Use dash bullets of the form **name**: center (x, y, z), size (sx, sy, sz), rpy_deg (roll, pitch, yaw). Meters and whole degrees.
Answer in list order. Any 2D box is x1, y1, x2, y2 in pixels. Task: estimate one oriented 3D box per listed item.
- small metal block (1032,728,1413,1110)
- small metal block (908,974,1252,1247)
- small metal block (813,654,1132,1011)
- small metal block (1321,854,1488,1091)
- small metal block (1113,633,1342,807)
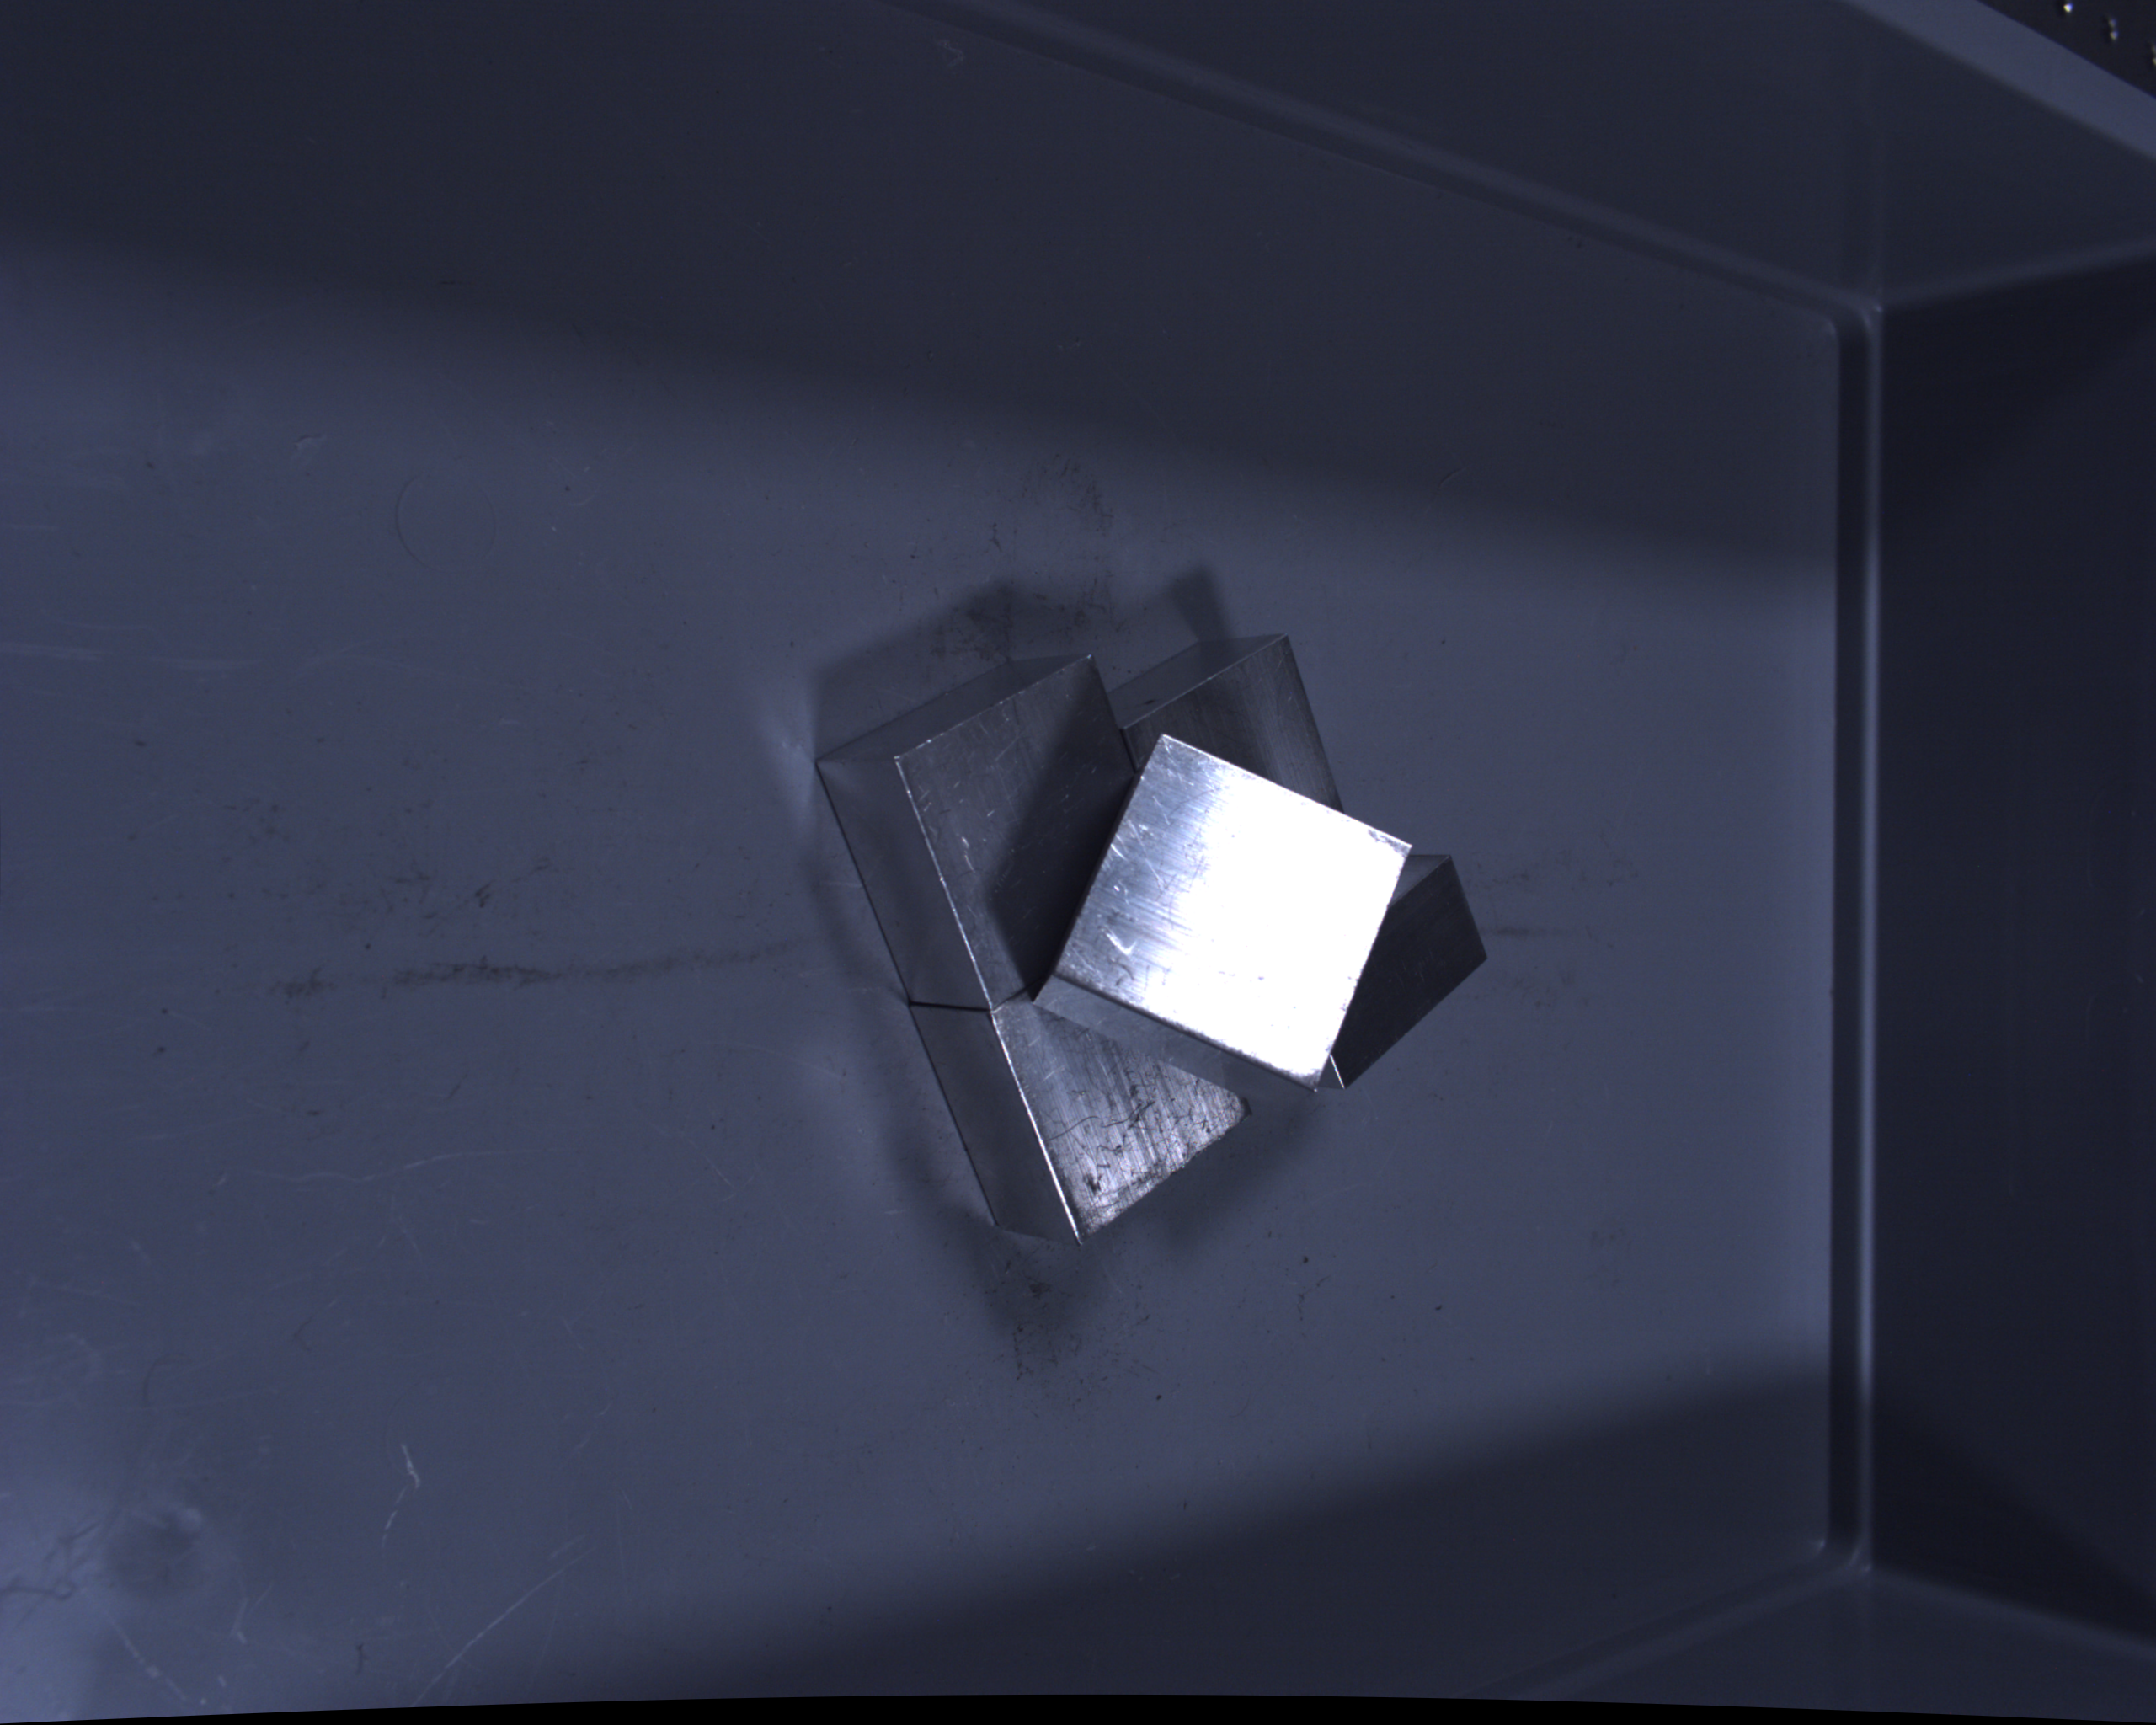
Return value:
- **small metal block**: center (0.026, 0.011, 0.380), size (0.050, 0.025, 0.050), rpy_deg (24, 71, -2)
- **small metal block**: center (0.001, 0.039, 0.408), size (0.050, 0.025, 0.050), rpy_deg (-31, 110, -36)
- **small metal block**: center (-0.015, -0.006, 0.394), size (0.050, 0.025, 0.050), rpy_deg (-31, 110, -36)
- **small metal block**: center (0.047, 0.021, 0.429), size (0.050, 0.050, 0.025), rpy_deg (-35, 112, -35)
- **small metal block**: center (0.025, -0.014, 0.428), size (0.050, 0.025, 0.050), rpy_deg (-31, 110, -36)
